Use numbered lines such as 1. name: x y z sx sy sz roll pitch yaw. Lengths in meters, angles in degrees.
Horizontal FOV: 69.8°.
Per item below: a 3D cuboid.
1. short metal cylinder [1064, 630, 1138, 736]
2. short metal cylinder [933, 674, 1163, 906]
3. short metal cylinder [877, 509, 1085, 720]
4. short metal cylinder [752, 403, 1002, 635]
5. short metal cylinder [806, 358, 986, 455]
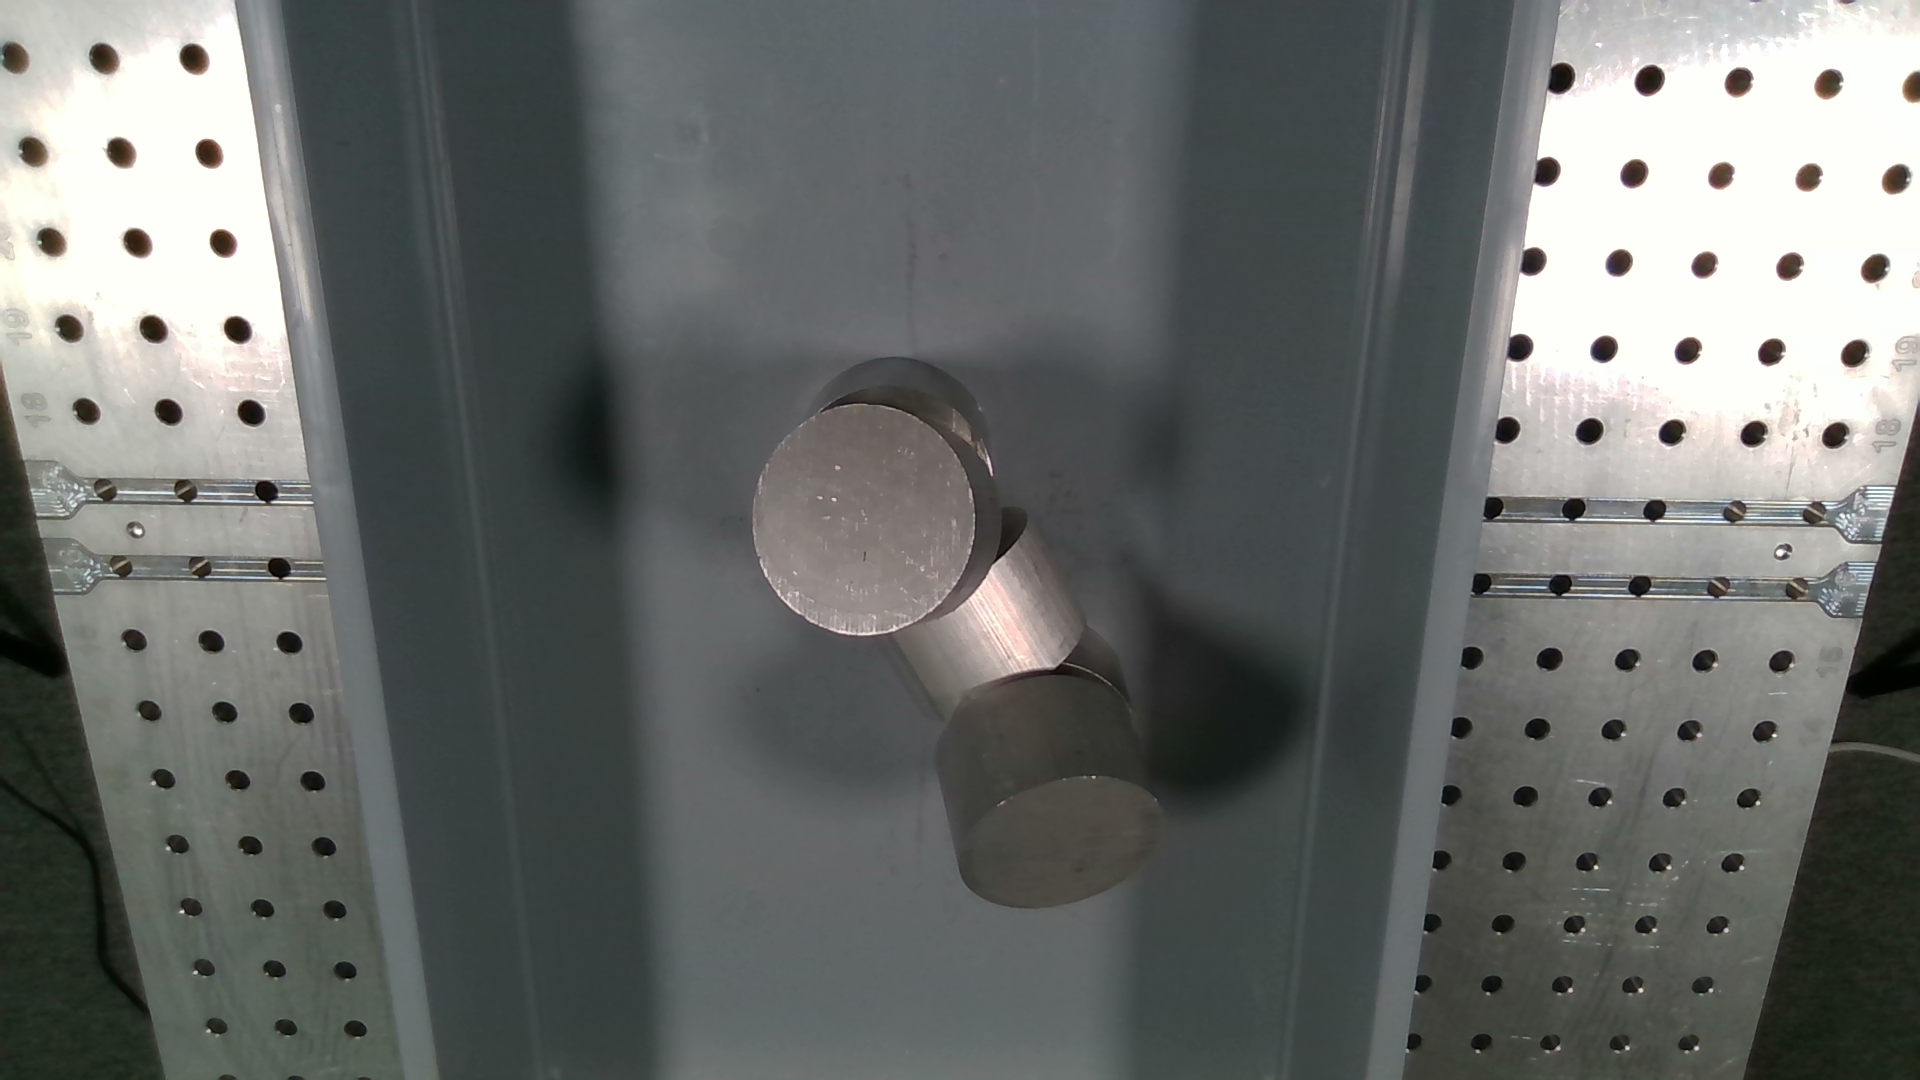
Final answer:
1. short metal cylinder: 0.035 0.078 0.599 0.080 0.050 0.080 0 110 0
2. short metal cylinder: 0.033 0.098 0.537 0.080 0.050 0.080 -8 133 -9
3. short metal cylinder: 0.005 0.029 0.565 0.080 0.080 0.050 -28 108 10
4. short metal cylinder: -0.029 -0.007 0.499 0.080 0.050 0.080 0 90 12
5. short metal cylinder: -0.028 -0.030 0.559 0.080 0.050 0.080 0 110 0
